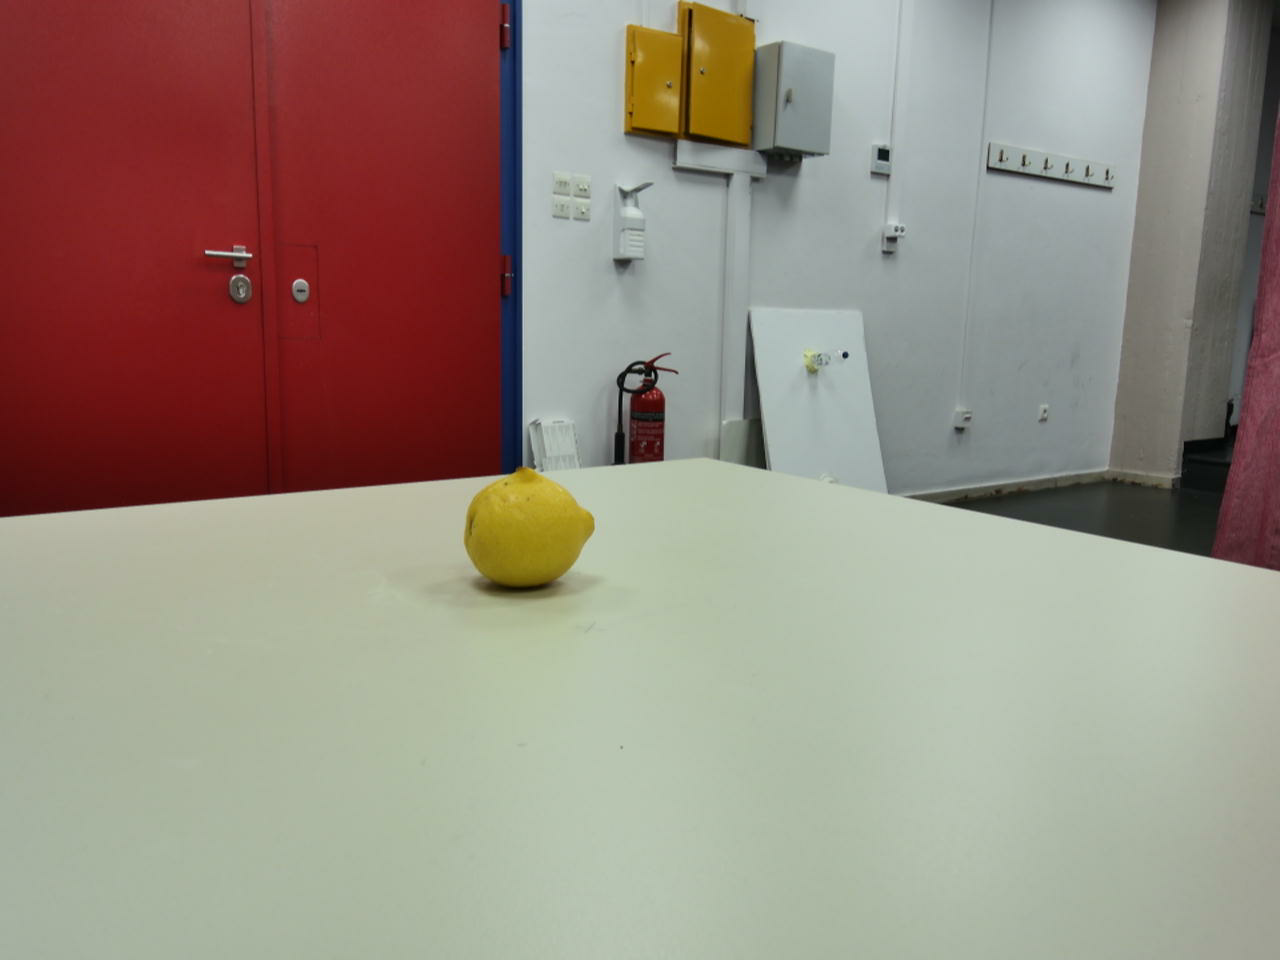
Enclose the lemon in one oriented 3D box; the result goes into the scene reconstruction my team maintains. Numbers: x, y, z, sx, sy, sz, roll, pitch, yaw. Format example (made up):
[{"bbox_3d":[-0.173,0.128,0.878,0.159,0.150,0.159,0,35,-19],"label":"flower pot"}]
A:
[{"bbox_3d":[-0.069,0.027,0.593,0.071,0.071,0.070,2,8,20],"label":"lemon"}]
